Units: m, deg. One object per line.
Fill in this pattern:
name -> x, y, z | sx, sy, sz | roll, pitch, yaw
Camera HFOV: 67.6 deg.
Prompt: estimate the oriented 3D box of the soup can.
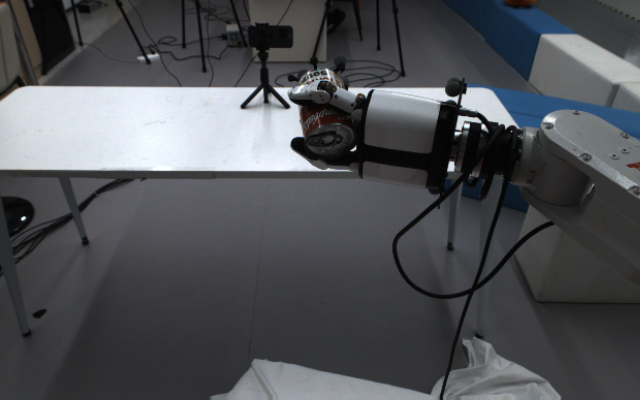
soup can -> 0.008, -0.113, 0.632 | 0.067, 0.067, 0.101 | -5, 57, -10
